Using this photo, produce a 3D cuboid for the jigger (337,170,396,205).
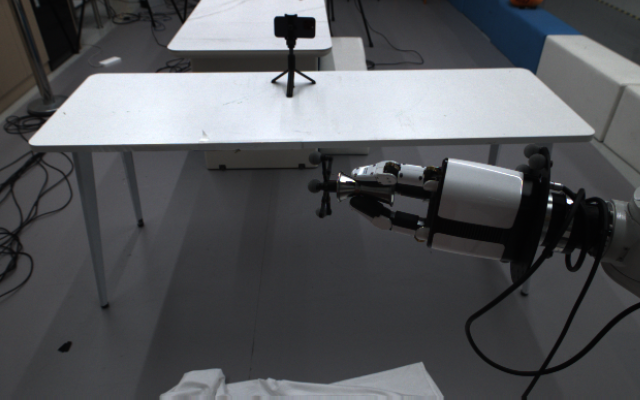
[{"bbox_3d":[0.065,-0.019,0.608,0.071,0.043,0.043,2,34,13],"label":"jigger"}]
